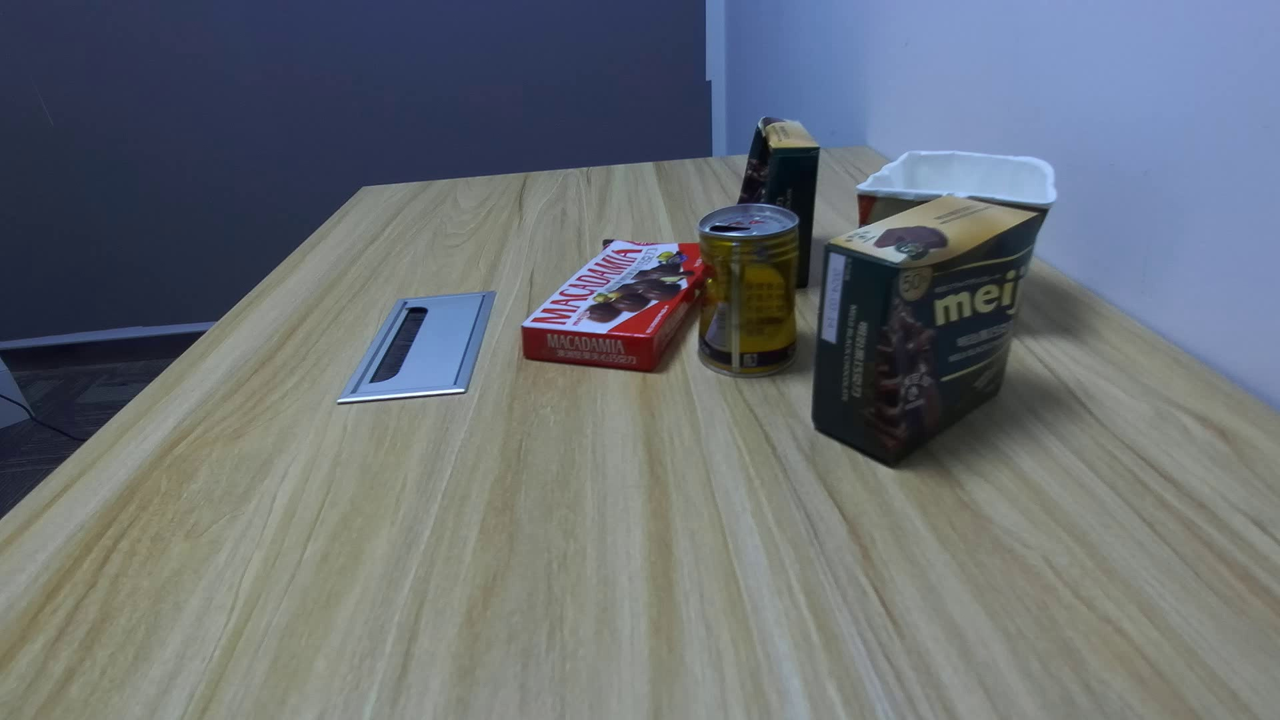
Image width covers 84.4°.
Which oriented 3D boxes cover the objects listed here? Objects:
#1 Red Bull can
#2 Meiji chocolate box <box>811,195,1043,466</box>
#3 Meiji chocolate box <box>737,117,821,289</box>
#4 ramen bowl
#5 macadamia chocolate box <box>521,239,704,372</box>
[{"bbox_3d":[0.068,-0.044,0.441,0.072,0.092,0.072,-3,31,2],"label":"Red Bull can"},{"bbox_3d":[0.148,-0.018,0.368,0.113,0.111,0.058,-23,34,-32],"label":"Meiji chocolate box"},{"bbox_3d":[0.108,-0.126,0.564,0.052,0.117,0.117,3,29,-2],"label":"Meiji chocolate box"},{"bbox_3d":[0.215,-0.090,0.500,0.113,0.098,0.134,6,30,20],"label":"ramen bowl"},{"bbox_3d":[-0.006,-0.050,0.533,0.105,0.028,0.183,7,30,17],"label":"macadamia chocolate box"}]
